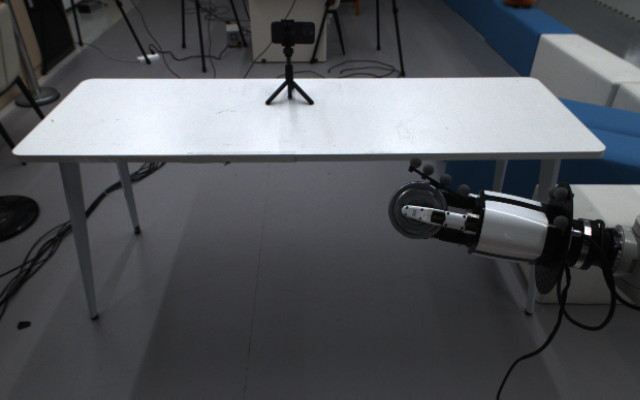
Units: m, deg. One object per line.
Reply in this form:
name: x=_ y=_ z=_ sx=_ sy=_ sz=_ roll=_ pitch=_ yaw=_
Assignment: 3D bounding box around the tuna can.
tuna can: x=0.148 y=0.021 z=0.712 sx=0.085 sy=0.085 sz=0.034 roll=13 pitch=4 yaw=15
